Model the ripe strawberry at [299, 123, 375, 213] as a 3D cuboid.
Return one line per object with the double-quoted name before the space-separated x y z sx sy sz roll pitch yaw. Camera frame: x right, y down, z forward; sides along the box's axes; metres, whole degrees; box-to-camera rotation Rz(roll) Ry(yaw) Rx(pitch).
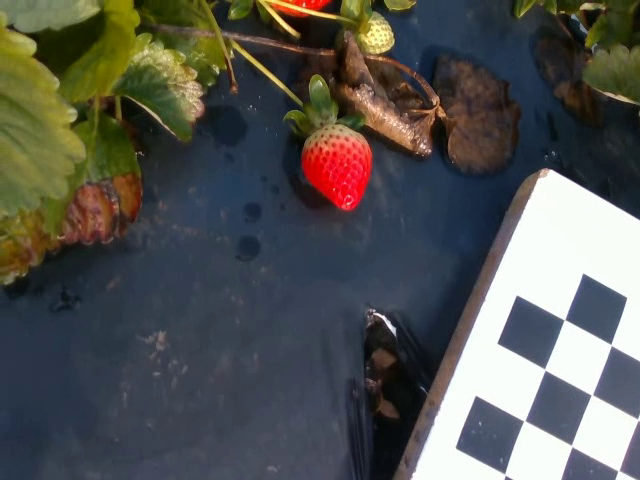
"ripe strawberry" 0.008 -0.031 0.284 0.035 0.043 0.030 -8 -12 -14
